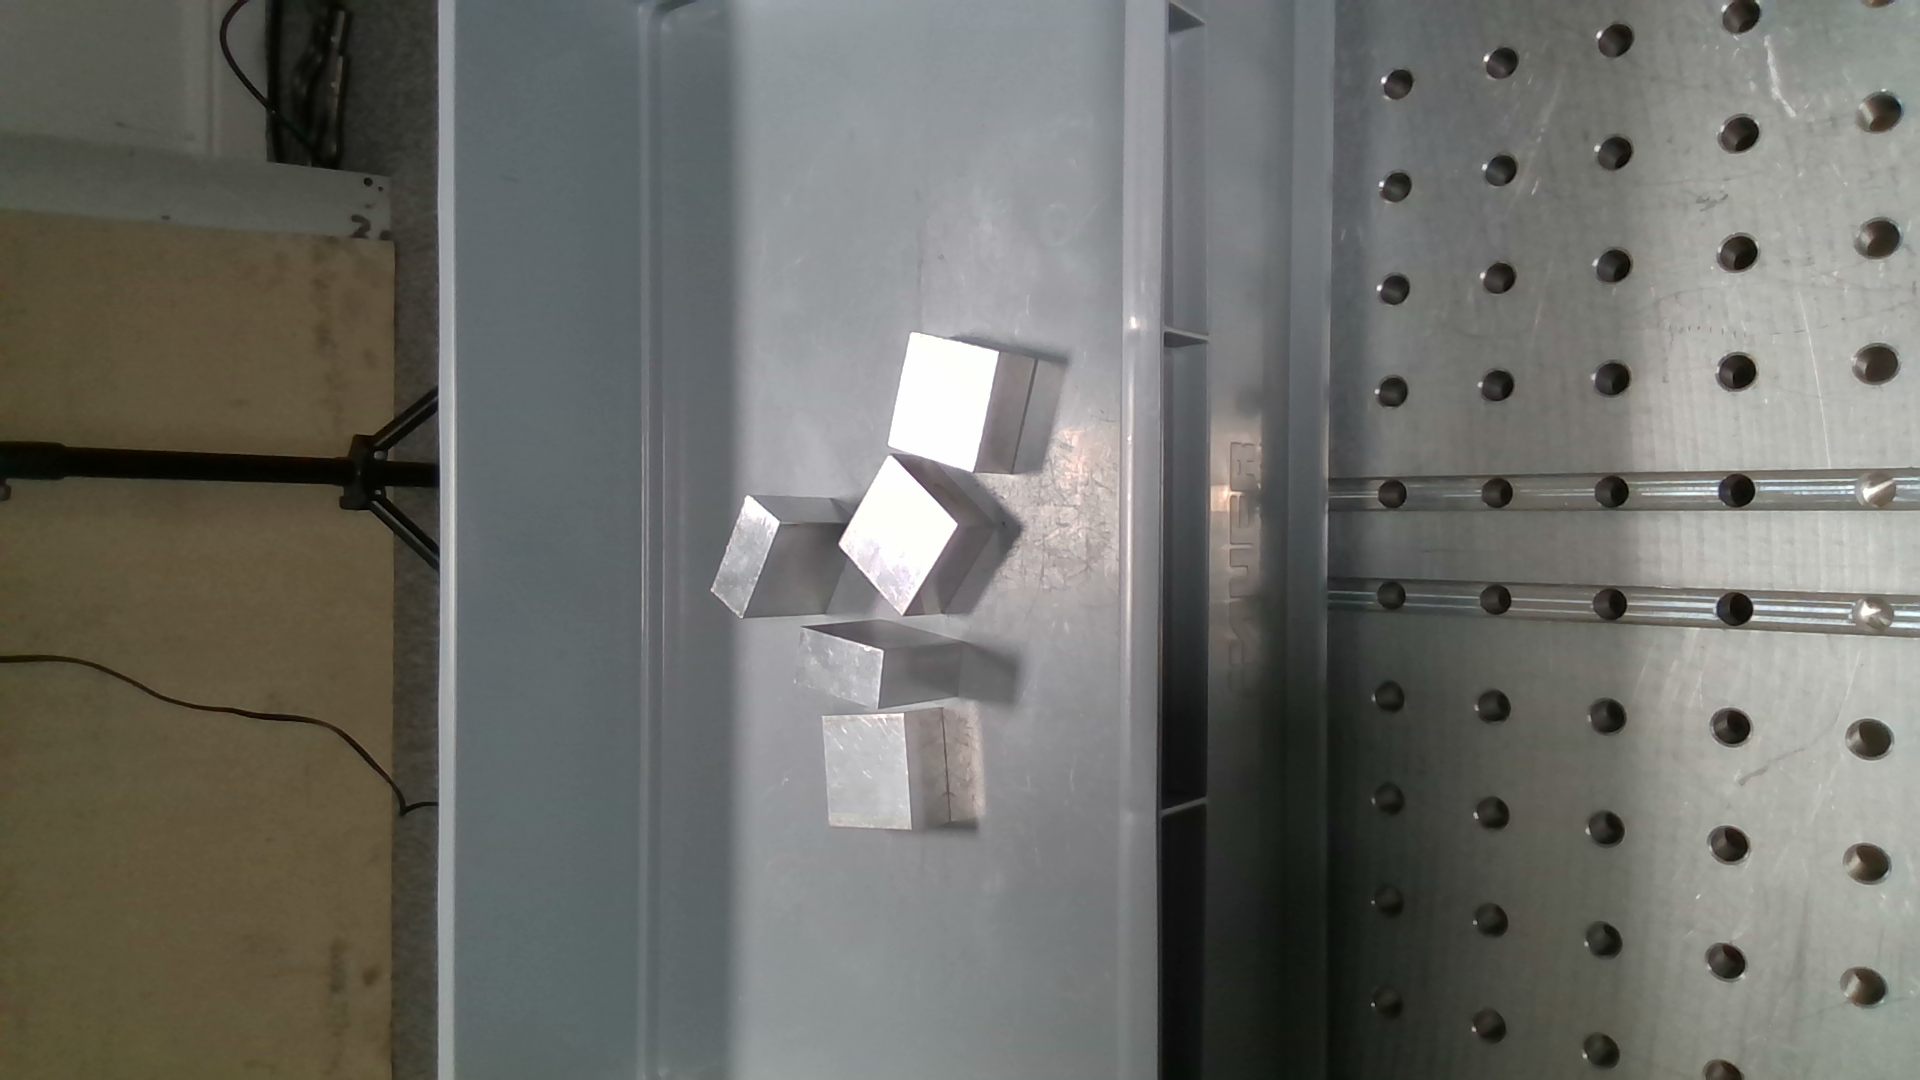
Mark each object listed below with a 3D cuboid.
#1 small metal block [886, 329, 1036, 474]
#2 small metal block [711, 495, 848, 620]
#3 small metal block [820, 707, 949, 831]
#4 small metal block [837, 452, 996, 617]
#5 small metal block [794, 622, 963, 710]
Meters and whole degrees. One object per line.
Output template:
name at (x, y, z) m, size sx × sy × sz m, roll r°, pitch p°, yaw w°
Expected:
small metal block at (0.000, -0.058, 0.579) m, size 0.050 × 0.025 × 0.050 m, roll 20°, pitch 103°, yaw 38°
small metal block at (-0.080, 0.008, 0.630) m, size 0.025 × 0.050 × 0.050 m, roll 38°, pitch 114°, yaw 34°
small metal block at (-0.034, 0.101, 0.609) m, size 0.050 × 0.025 × 0.050 m, roll -7°, pitch 86°, yaw 40°
small metal block at (-0.020, -0.002, 0.596) m, size 0.050 × 0.025 × 0.050 m, roll 46°, pitch 118°, yaw 30°
small metal block at (-0.035, 0.053, 0.594) m, size 0.050 × 0.050 × 0.025 m, roll 12°, pitch 99°, yaw 40°
